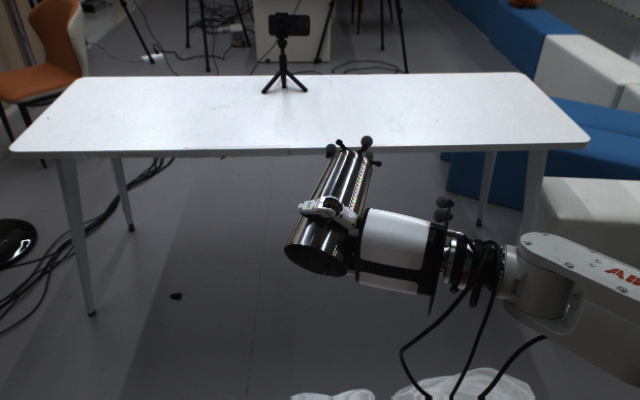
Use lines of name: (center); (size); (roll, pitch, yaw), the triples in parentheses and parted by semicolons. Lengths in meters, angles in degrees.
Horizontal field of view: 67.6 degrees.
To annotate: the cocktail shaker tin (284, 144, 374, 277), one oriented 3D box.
cocktail shaker tin: (0.019, 0.012, 0.694); (0.093, 0.093, 0.170); (14, 60, 16)
